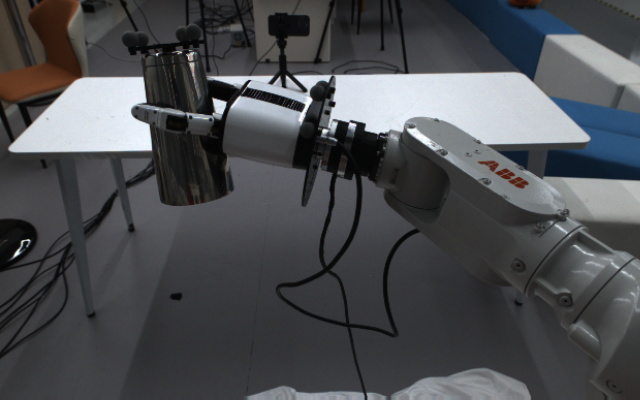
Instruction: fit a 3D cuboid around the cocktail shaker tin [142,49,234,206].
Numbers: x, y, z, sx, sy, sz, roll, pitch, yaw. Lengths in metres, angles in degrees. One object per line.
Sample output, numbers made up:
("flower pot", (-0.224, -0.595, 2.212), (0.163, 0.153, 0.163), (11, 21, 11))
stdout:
("cocktail shaker tin", (-0.162, -0.088, 0.580), (0.093, 0.170, 0.093), (-6, 19, 2))
